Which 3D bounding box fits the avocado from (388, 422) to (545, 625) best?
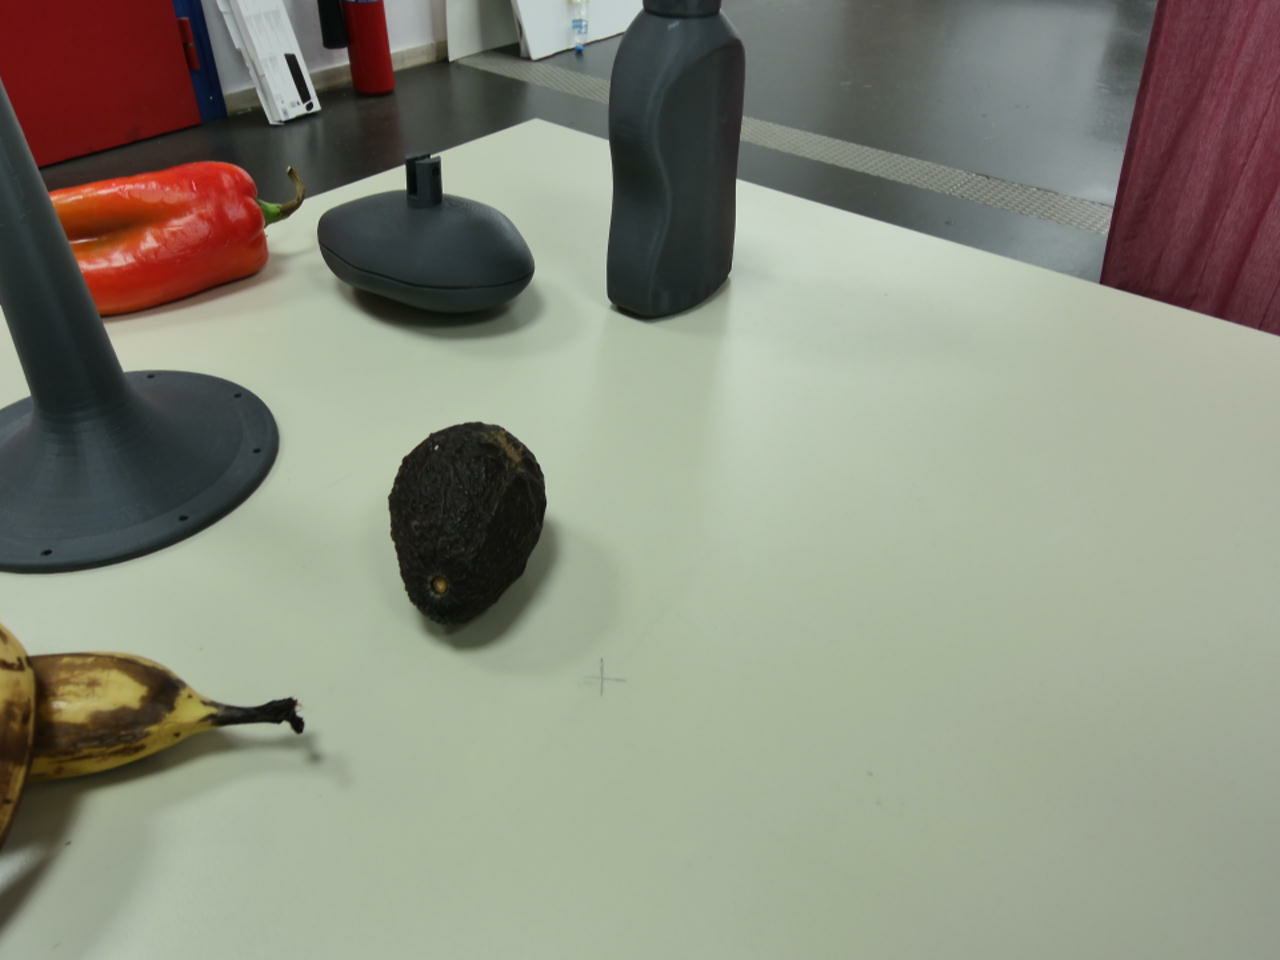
[{"bbox_3d":[-0.072,0.014,0.403,0.062,0.062,0.092,9,37,11],"label":"avocado"}]
